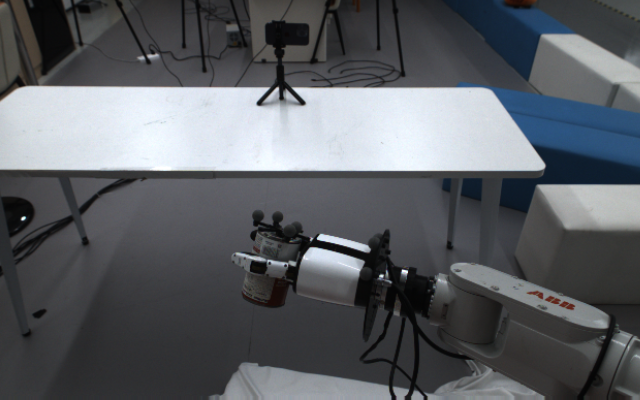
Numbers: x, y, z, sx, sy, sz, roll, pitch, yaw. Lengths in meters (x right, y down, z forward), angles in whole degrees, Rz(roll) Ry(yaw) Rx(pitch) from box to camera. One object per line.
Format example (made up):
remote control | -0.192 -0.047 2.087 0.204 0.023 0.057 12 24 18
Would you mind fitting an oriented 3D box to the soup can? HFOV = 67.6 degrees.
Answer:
soup can | -0.070 0.098 0.707 0.067 0.101 0.067 15 7 -2
